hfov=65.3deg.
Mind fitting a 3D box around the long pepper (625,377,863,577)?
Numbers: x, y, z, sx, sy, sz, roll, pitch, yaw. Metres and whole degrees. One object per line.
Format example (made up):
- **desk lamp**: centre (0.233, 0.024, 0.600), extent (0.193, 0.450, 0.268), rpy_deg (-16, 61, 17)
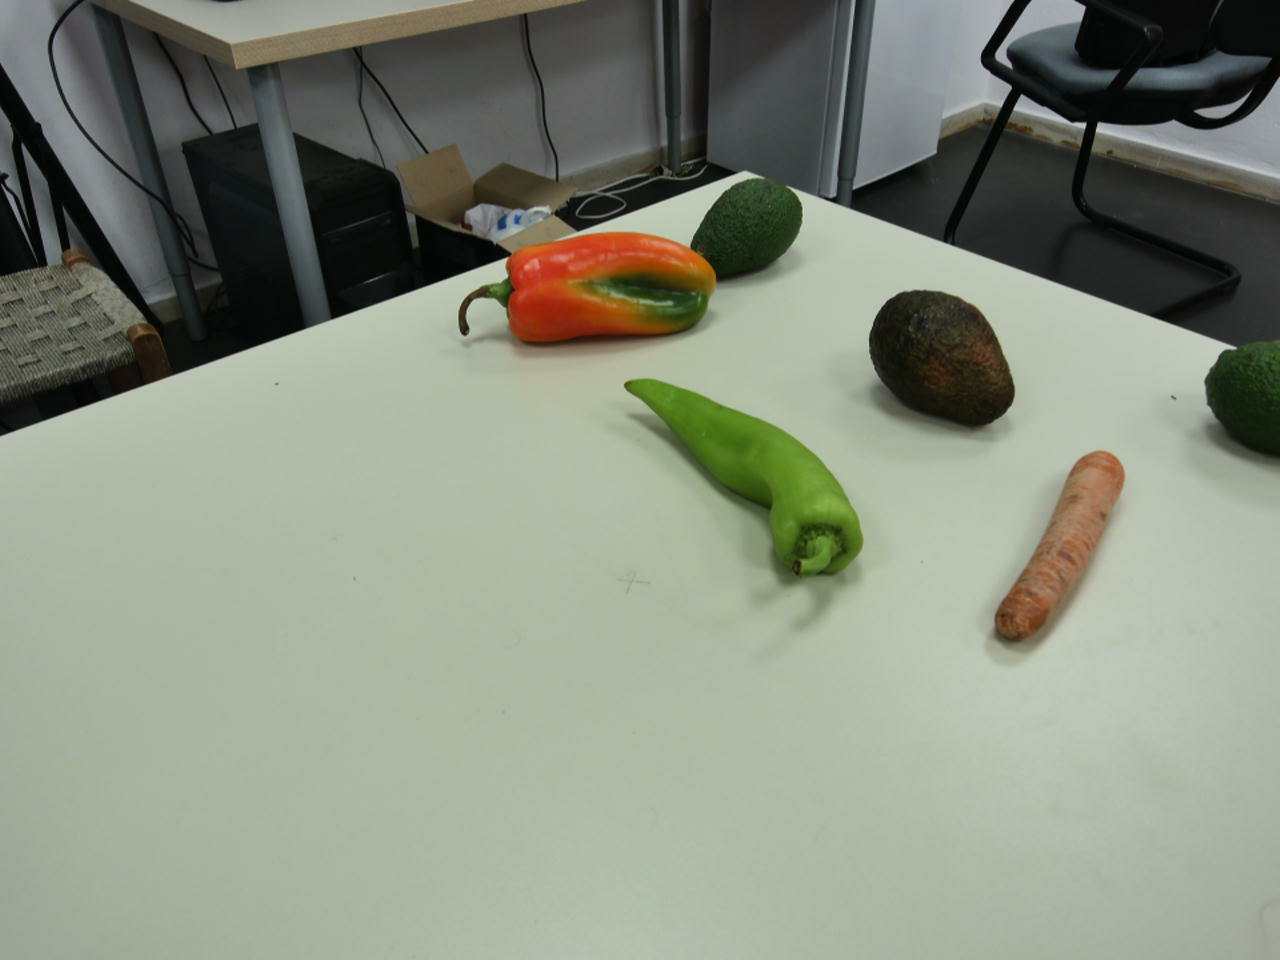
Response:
- **long pepper**: centre (0.060, -0.011, 0.554), extent (0.065, 0.045, 0.204), rpy_deg (-15, 38, -19)
